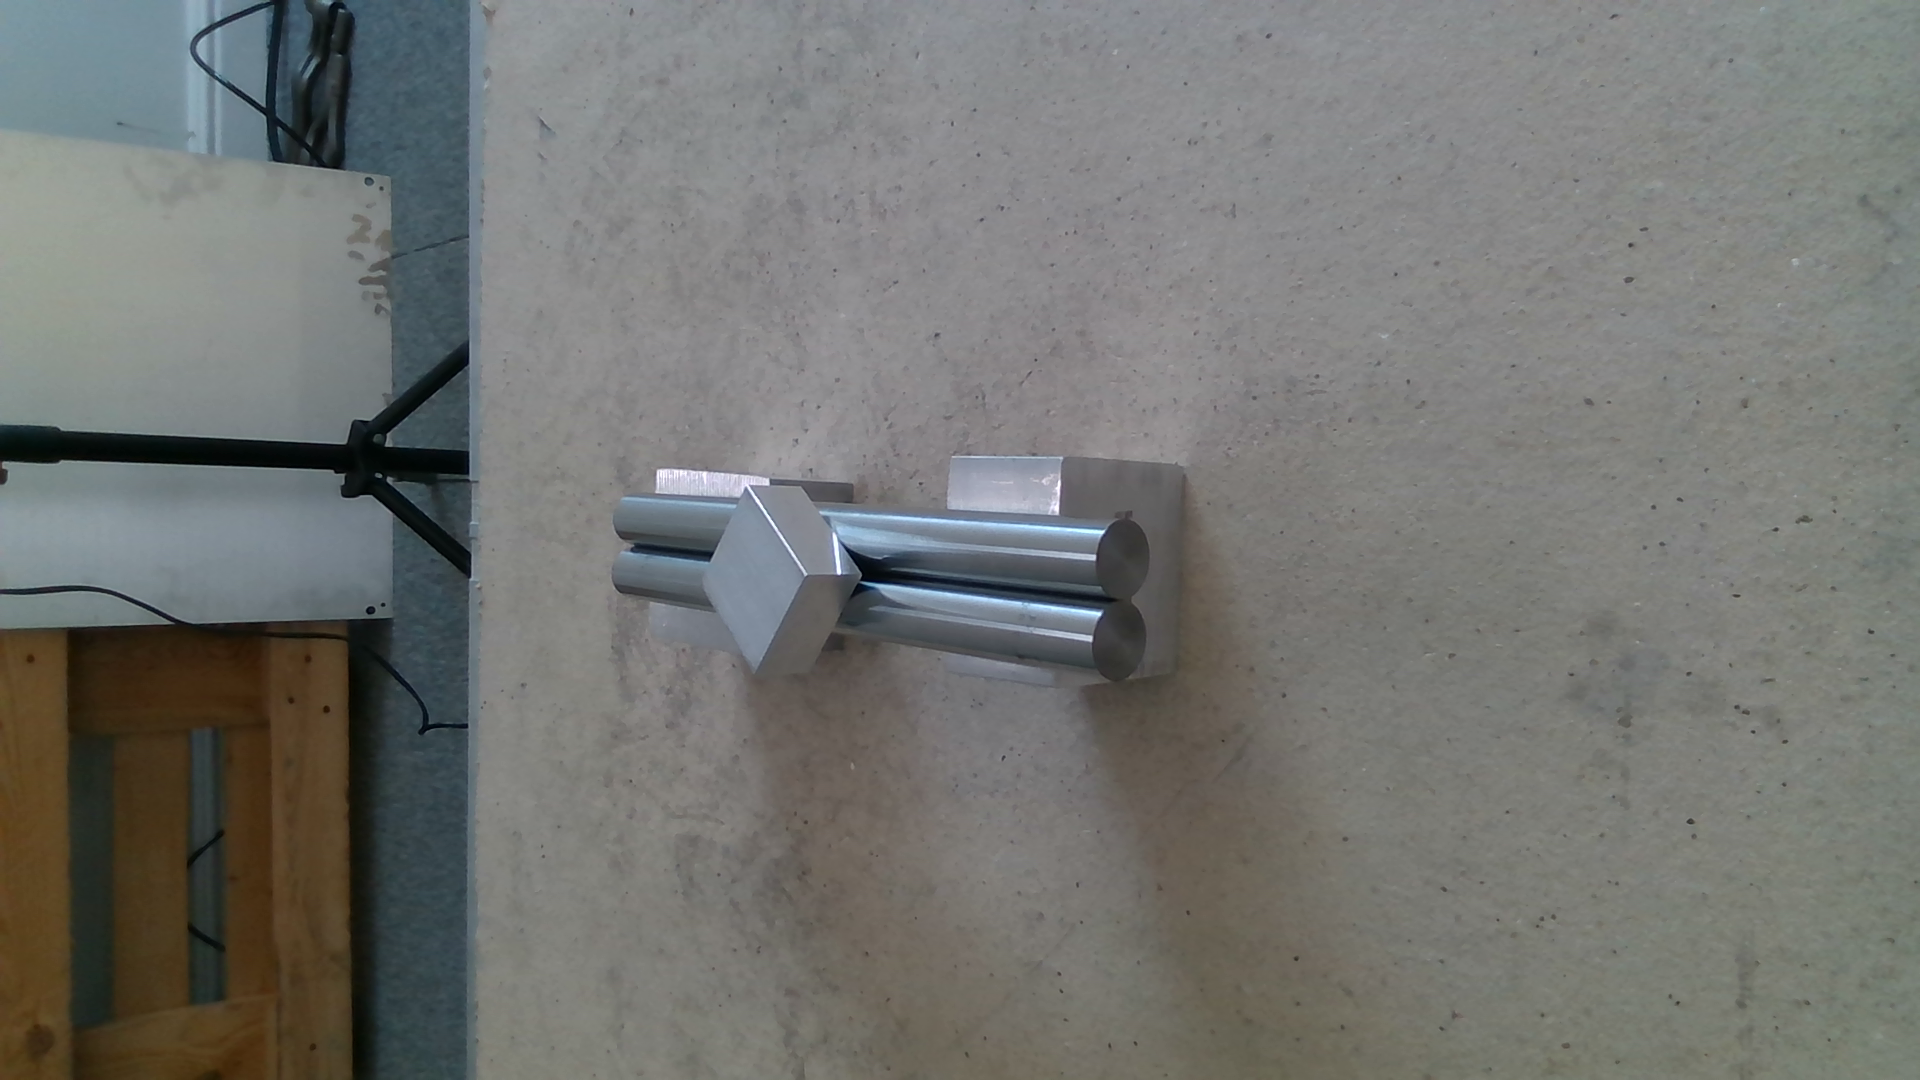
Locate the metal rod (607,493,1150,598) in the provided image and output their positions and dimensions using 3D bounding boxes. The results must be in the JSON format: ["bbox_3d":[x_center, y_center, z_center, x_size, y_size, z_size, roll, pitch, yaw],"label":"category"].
[{"bbox_3d":[-0.051,-0.002,0.531,0.300,0.025,0.025,4,93,47],"label":"metal rod"}]

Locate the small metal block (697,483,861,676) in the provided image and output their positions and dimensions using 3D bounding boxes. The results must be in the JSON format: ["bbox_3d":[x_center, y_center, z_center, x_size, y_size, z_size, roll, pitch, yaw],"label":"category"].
[{"bbox_3d":[-0.068,0.014,0.513,0.050,0.025,0.050,52,127,34],"label":"small metal block"}]

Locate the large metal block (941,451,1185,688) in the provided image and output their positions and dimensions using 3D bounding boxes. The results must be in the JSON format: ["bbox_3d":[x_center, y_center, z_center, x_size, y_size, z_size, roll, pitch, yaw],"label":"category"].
[{"bbox_3d":[0.040,0.009,0.514,0.050,0.080,0.080,4,93,40],"label":"large metal block"}]

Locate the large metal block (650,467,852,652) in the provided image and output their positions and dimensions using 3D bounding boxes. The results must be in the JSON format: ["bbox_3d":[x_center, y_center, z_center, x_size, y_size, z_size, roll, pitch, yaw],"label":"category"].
[{"bbox_3d":[-0.099,0.009,0.649,0.080,0.050,0.080,6,95,40],"label":"large metal block"}]

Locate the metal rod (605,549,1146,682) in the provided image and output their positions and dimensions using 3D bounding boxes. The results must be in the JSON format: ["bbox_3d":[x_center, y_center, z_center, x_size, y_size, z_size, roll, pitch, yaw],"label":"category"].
[{"bbox_3d":[-0.052,0.023,0.532,0.300,0.025,0.025,4,93,47],"label":"metal rod"}]
